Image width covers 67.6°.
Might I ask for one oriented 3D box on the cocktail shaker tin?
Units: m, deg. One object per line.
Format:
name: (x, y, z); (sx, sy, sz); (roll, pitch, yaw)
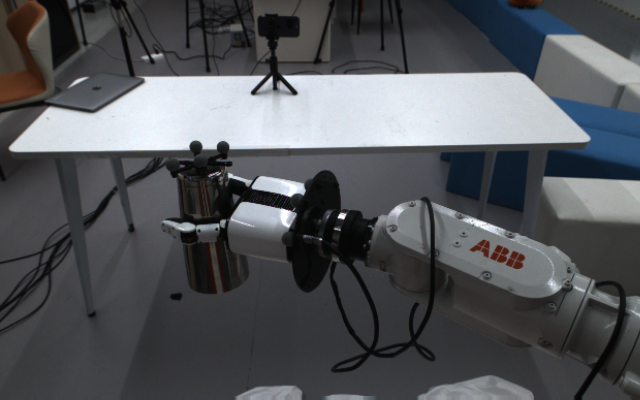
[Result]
cocktail shaker tin: (-0.152, 0.035, 0.680); (0.093, 0.170, 0.093); (-2, 26, 1)
